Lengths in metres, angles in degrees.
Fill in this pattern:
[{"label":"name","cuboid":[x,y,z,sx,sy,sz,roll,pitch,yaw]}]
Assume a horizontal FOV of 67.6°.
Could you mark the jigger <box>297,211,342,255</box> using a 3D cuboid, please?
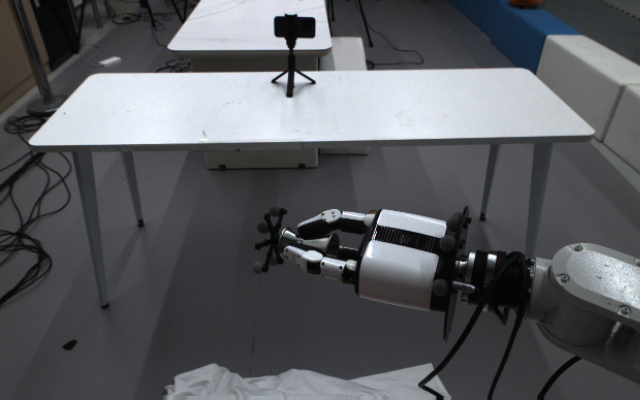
[{"label":"jigger","cuboid":[-0.008,0.056,0.621,0.071,0.043,0.043,8,34,23]}]
